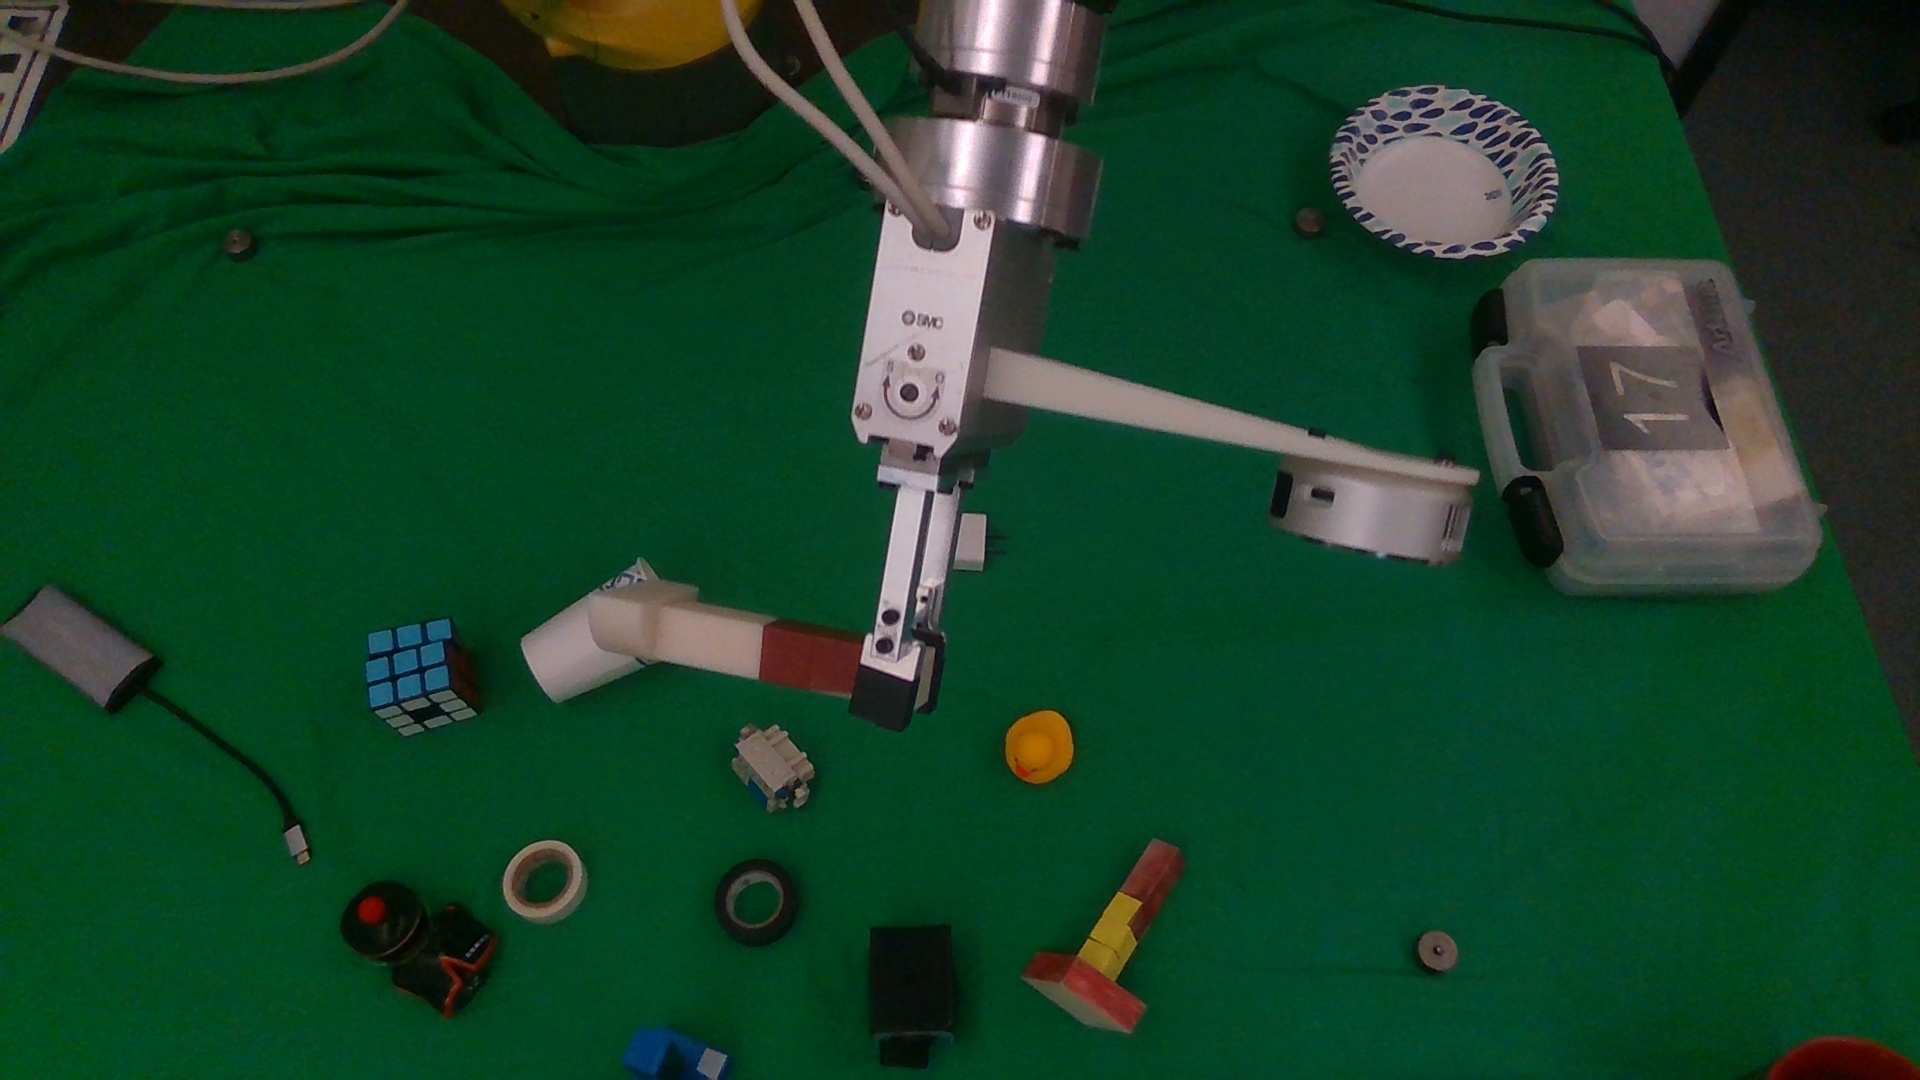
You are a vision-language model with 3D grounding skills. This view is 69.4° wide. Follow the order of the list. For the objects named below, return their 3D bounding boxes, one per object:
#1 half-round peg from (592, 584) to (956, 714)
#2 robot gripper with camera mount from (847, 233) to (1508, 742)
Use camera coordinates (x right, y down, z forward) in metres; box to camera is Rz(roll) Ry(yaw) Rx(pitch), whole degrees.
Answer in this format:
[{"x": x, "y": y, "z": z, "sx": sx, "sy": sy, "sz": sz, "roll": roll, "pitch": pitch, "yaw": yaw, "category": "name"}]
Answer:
[{"x": -0.063, "y": 0.040, "z": 0.486, "sx": 0.122, "sy": 0.054, "sz": 0.031, "roll": 7, "pitch": 100, "yaw": 12, "category": "half-round peg"}, {"x": 0.068, "y": -0.002, "z": 0.453, "sx": 0.194, "sy": 0.119, "sz": 0.158, "roll": 10, "pitch": 97, "yaw": 13, "category": "robot gripper with camera mount"}]
